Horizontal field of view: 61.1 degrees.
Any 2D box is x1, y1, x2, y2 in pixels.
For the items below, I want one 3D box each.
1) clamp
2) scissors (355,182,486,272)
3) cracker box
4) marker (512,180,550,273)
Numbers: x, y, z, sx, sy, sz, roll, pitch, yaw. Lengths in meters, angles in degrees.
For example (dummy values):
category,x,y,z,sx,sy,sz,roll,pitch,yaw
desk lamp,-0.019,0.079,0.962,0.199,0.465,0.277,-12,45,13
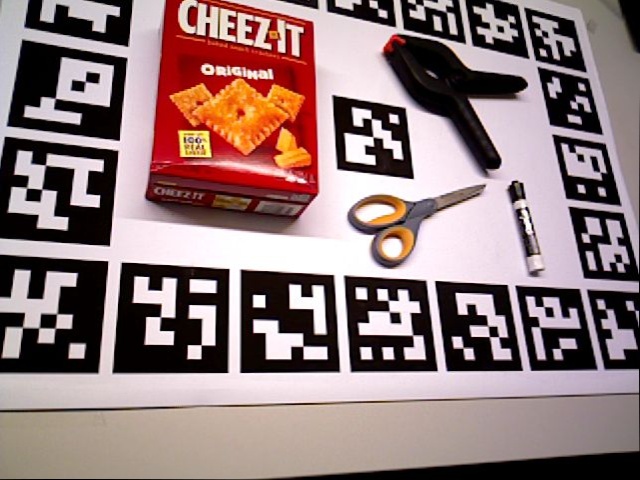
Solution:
category,x,y,z,sx,sy,sz,roll,pitch,yaw
clamp,0.162,-0.204,0.713,0.202,0.037,0.162,33,61,-7
scissors,0.127,-0.034,0.631,0.198,0.016,0.087,-26,80,-29
cracker box,-0.085,-0.137,0.561,0.162,0.073,0.212,5,69,-19
marker,0.261,-0.019,0.674,0.019,0.020,0.120,0,70,-21
